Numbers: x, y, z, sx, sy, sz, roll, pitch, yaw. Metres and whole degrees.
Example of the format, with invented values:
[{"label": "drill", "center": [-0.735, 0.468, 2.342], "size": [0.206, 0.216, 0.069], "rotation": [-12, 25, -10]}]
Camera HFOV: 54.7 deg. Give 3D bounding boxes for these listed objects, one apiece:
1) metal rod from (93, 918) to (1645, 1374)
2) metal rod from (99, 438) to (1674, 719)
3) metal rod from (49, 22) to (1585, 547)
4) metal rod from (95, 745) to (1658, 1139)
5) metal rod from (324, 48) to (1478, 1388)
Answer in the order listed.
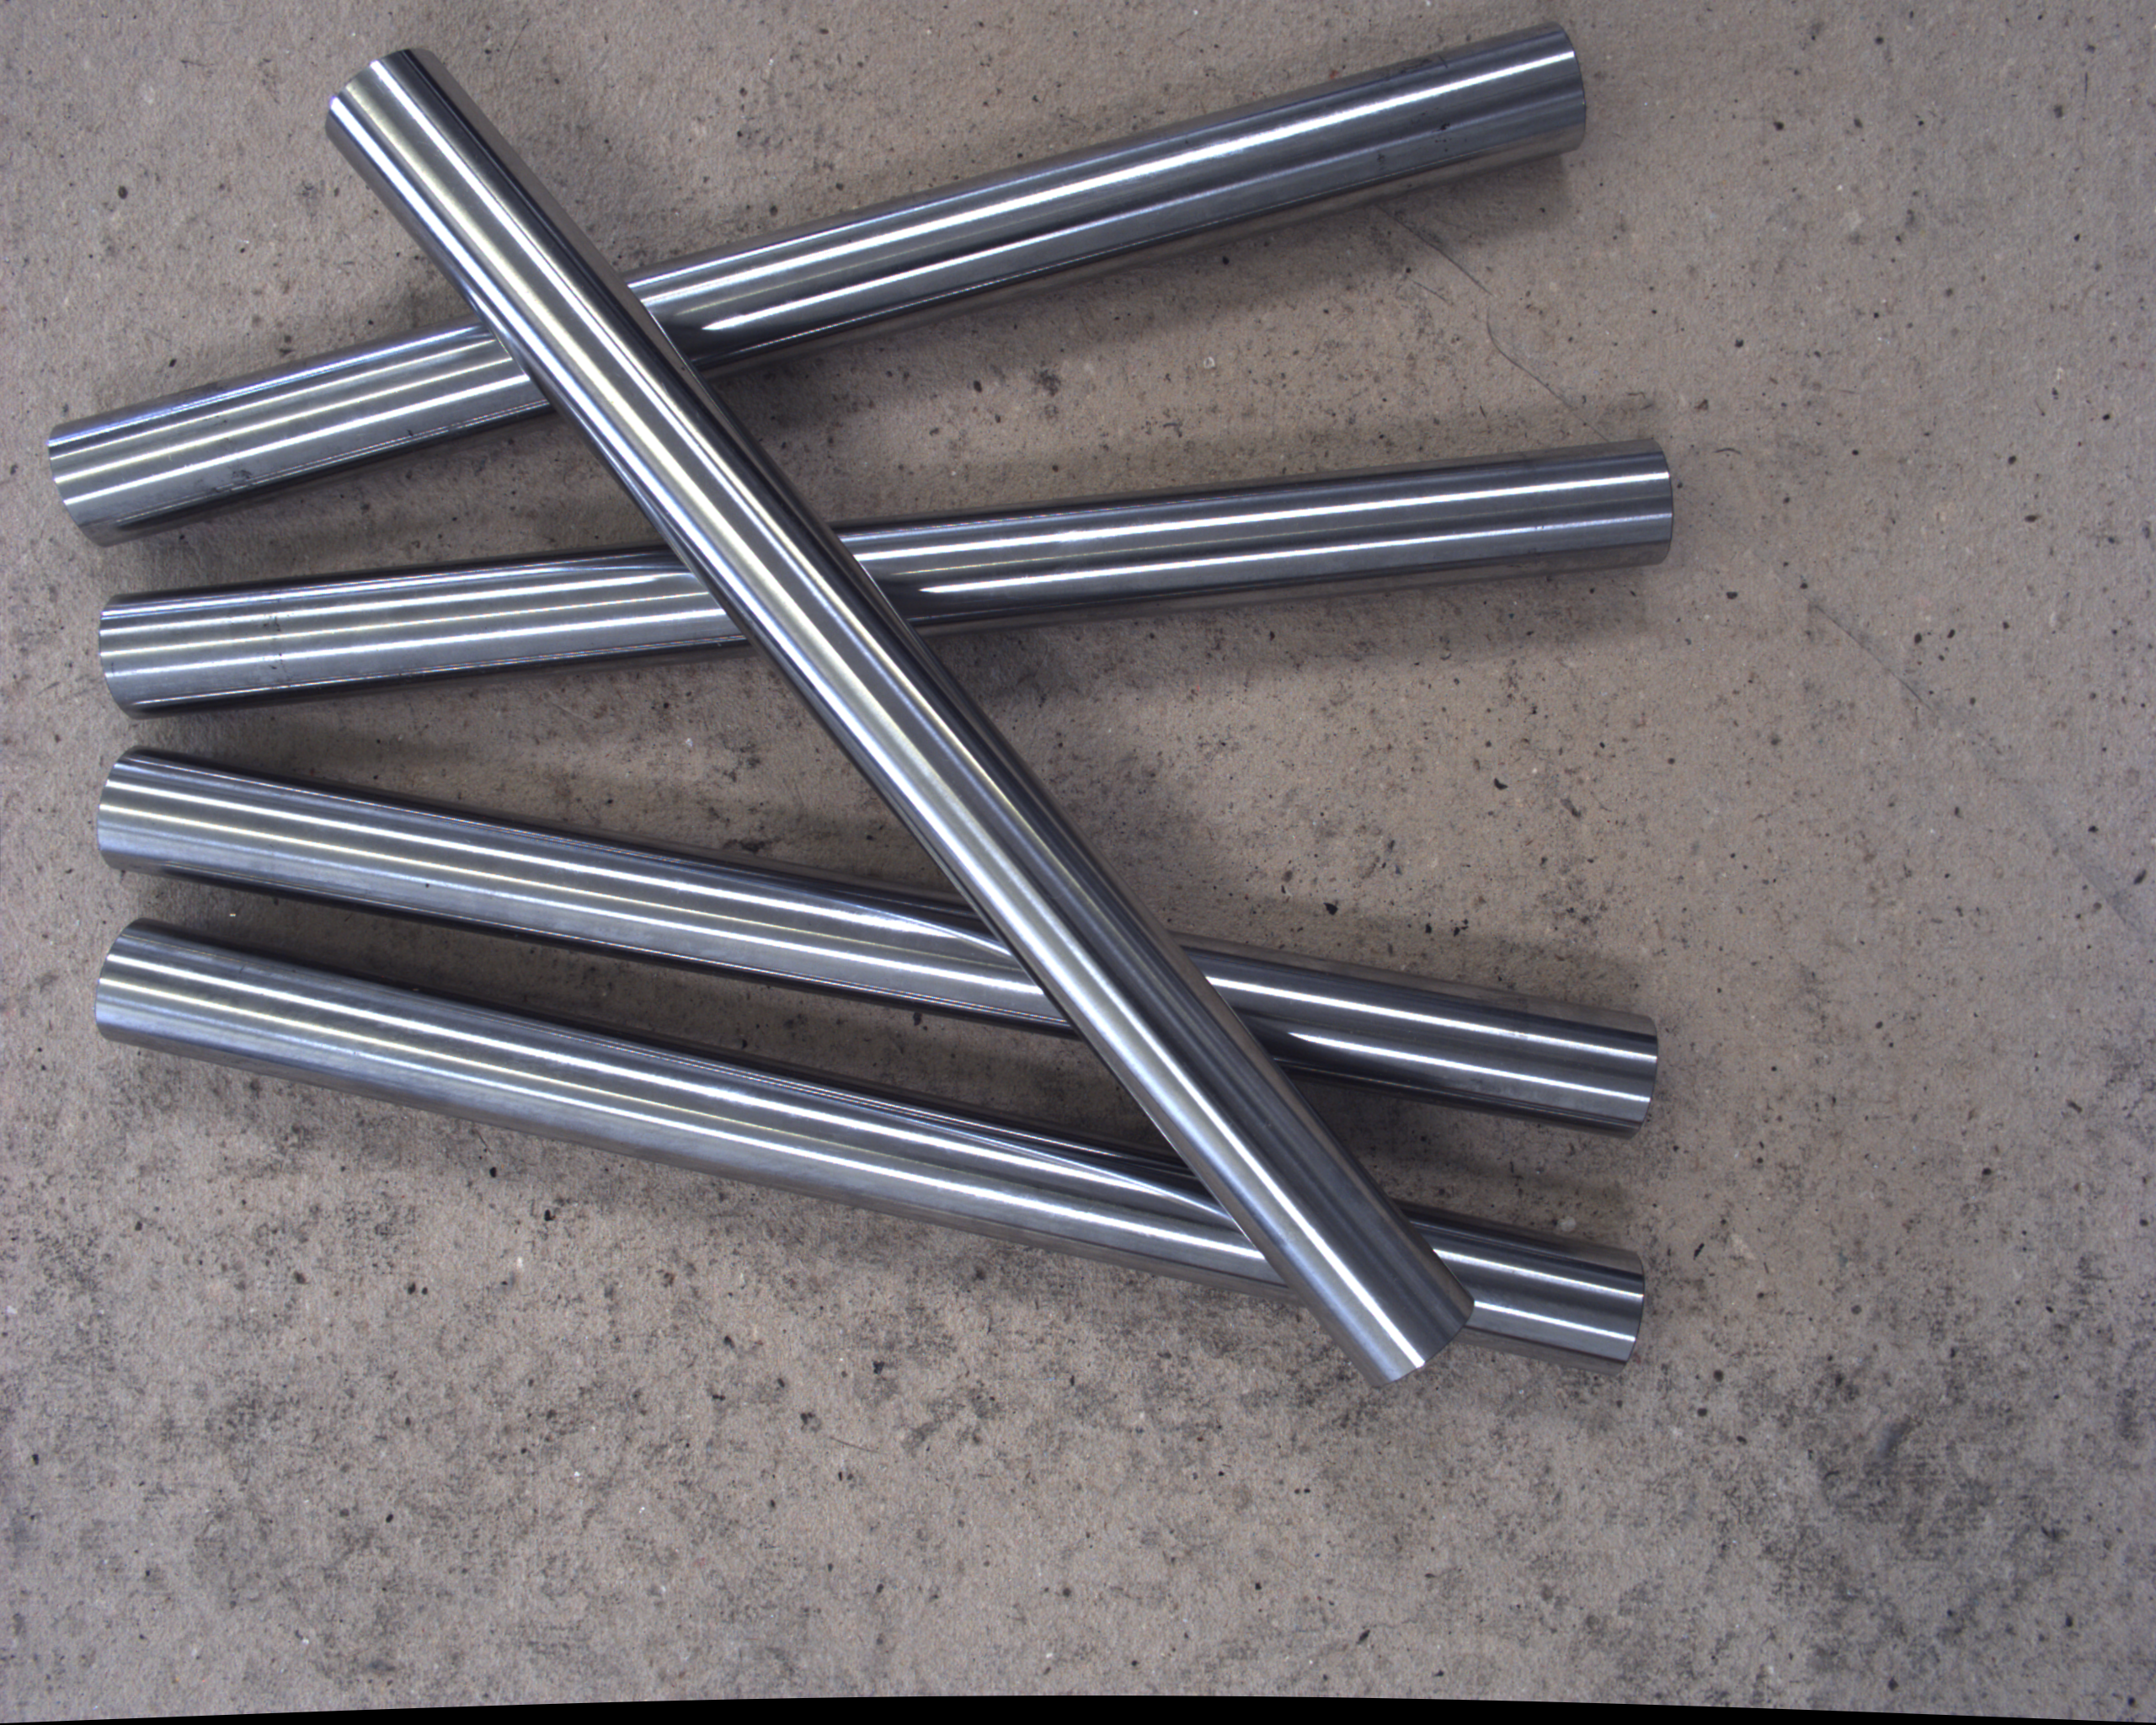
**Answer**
[{"label": "metal rod", "center": [-0.040, 0.056, 0.411], "size": [0.302, 0.025, 0.025], "rotation": [13, 90, 0]}, {"label": "metal rod", "center": [-0.036, -0.056, 0.411], "size": [0.302, 0.025, 0.025], "rotation": [-6, 90, -1]}, {"label": "metal rod", "center": [-0.050, -0.114, 0.411], "size": [0.302, 0.025, 0.025], "rotation": [-15, 90, 0]}, {"label": "metal rod", "center": [-0.038, 0.016, 0.411], "size": [0.302, 0.025, 0.025], "rotation": [10, 90, 0]}, {"label": "metal rod", "center": [-0.032, -0.026, 0.385], "size": [0.025, 0.025, 0.300], "rotation": [-40, 90, 0]}]
